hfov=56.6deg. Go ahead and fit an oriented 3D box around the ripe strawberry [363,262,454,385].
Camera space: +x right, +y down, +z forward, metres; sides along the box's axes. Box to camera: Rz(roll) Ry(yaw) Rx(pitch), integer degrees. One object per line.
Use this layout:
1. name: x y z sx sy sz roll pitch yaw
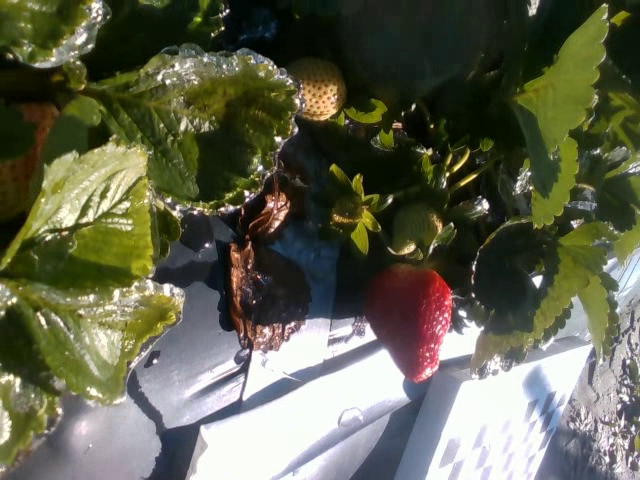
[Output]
1. ripe strawberry: 0.054 0.052 0.333 0.057 0.065 0.062 -15 -37 14
